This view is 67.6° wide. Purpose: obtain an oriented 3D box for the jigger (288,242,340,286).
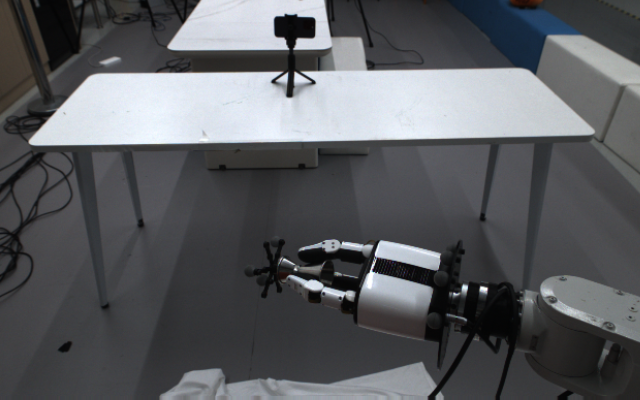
[{"bbox_3d":[-0.012,0.093,0.661,0.071,0.043,0.043,3,32,26],"label":"jigger"}]
